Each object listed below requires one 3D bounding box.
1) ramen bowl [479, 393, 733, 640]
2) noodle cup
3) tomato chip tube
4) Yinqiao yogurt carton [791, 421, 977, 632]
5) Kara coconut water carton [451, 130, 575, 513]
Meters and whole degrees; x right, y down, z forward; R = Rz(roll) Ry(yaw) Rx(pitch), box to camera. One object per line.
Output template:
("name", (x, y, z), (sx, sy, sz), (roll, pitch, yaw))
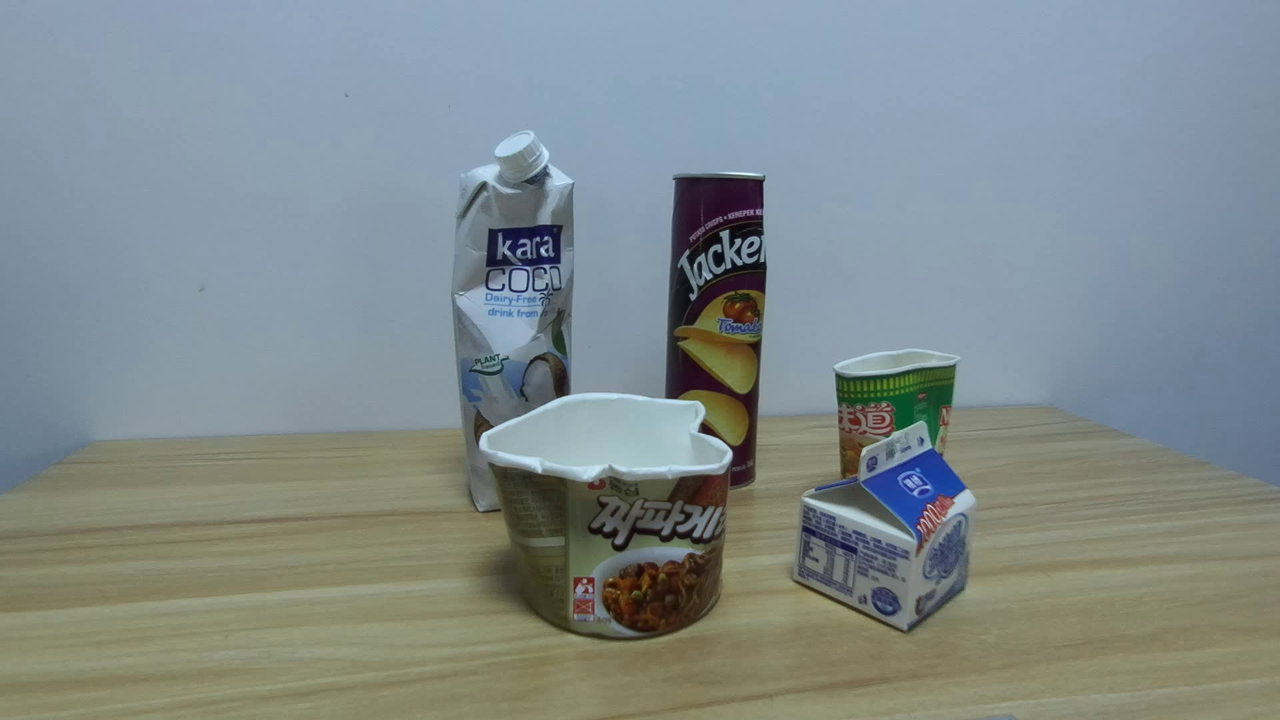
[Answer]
("ramen bowl", (-0.019, 0.080, 0.387), (0.134, 0.097, 0.113), (1, 13, -8))
("noodle cup", (0.183, 0.053, 0.512), (0.115, 0.111, 0.070), (0, 10, -16))
("tomato chip tube", (0.058, -0.023, 0.549), (0.076, 0.235, 0.078), (3, 11, 9))
("Yinqiao yogurt carton", (0.138, 0.084, 0.394), (0.076, 0.092, 0.073), (-11, 17, -42))
("Kara coconut water carton", (-0.086, -0.026, 0.498), (0.083, 0.255, 0.078), (2, 14, -2))
